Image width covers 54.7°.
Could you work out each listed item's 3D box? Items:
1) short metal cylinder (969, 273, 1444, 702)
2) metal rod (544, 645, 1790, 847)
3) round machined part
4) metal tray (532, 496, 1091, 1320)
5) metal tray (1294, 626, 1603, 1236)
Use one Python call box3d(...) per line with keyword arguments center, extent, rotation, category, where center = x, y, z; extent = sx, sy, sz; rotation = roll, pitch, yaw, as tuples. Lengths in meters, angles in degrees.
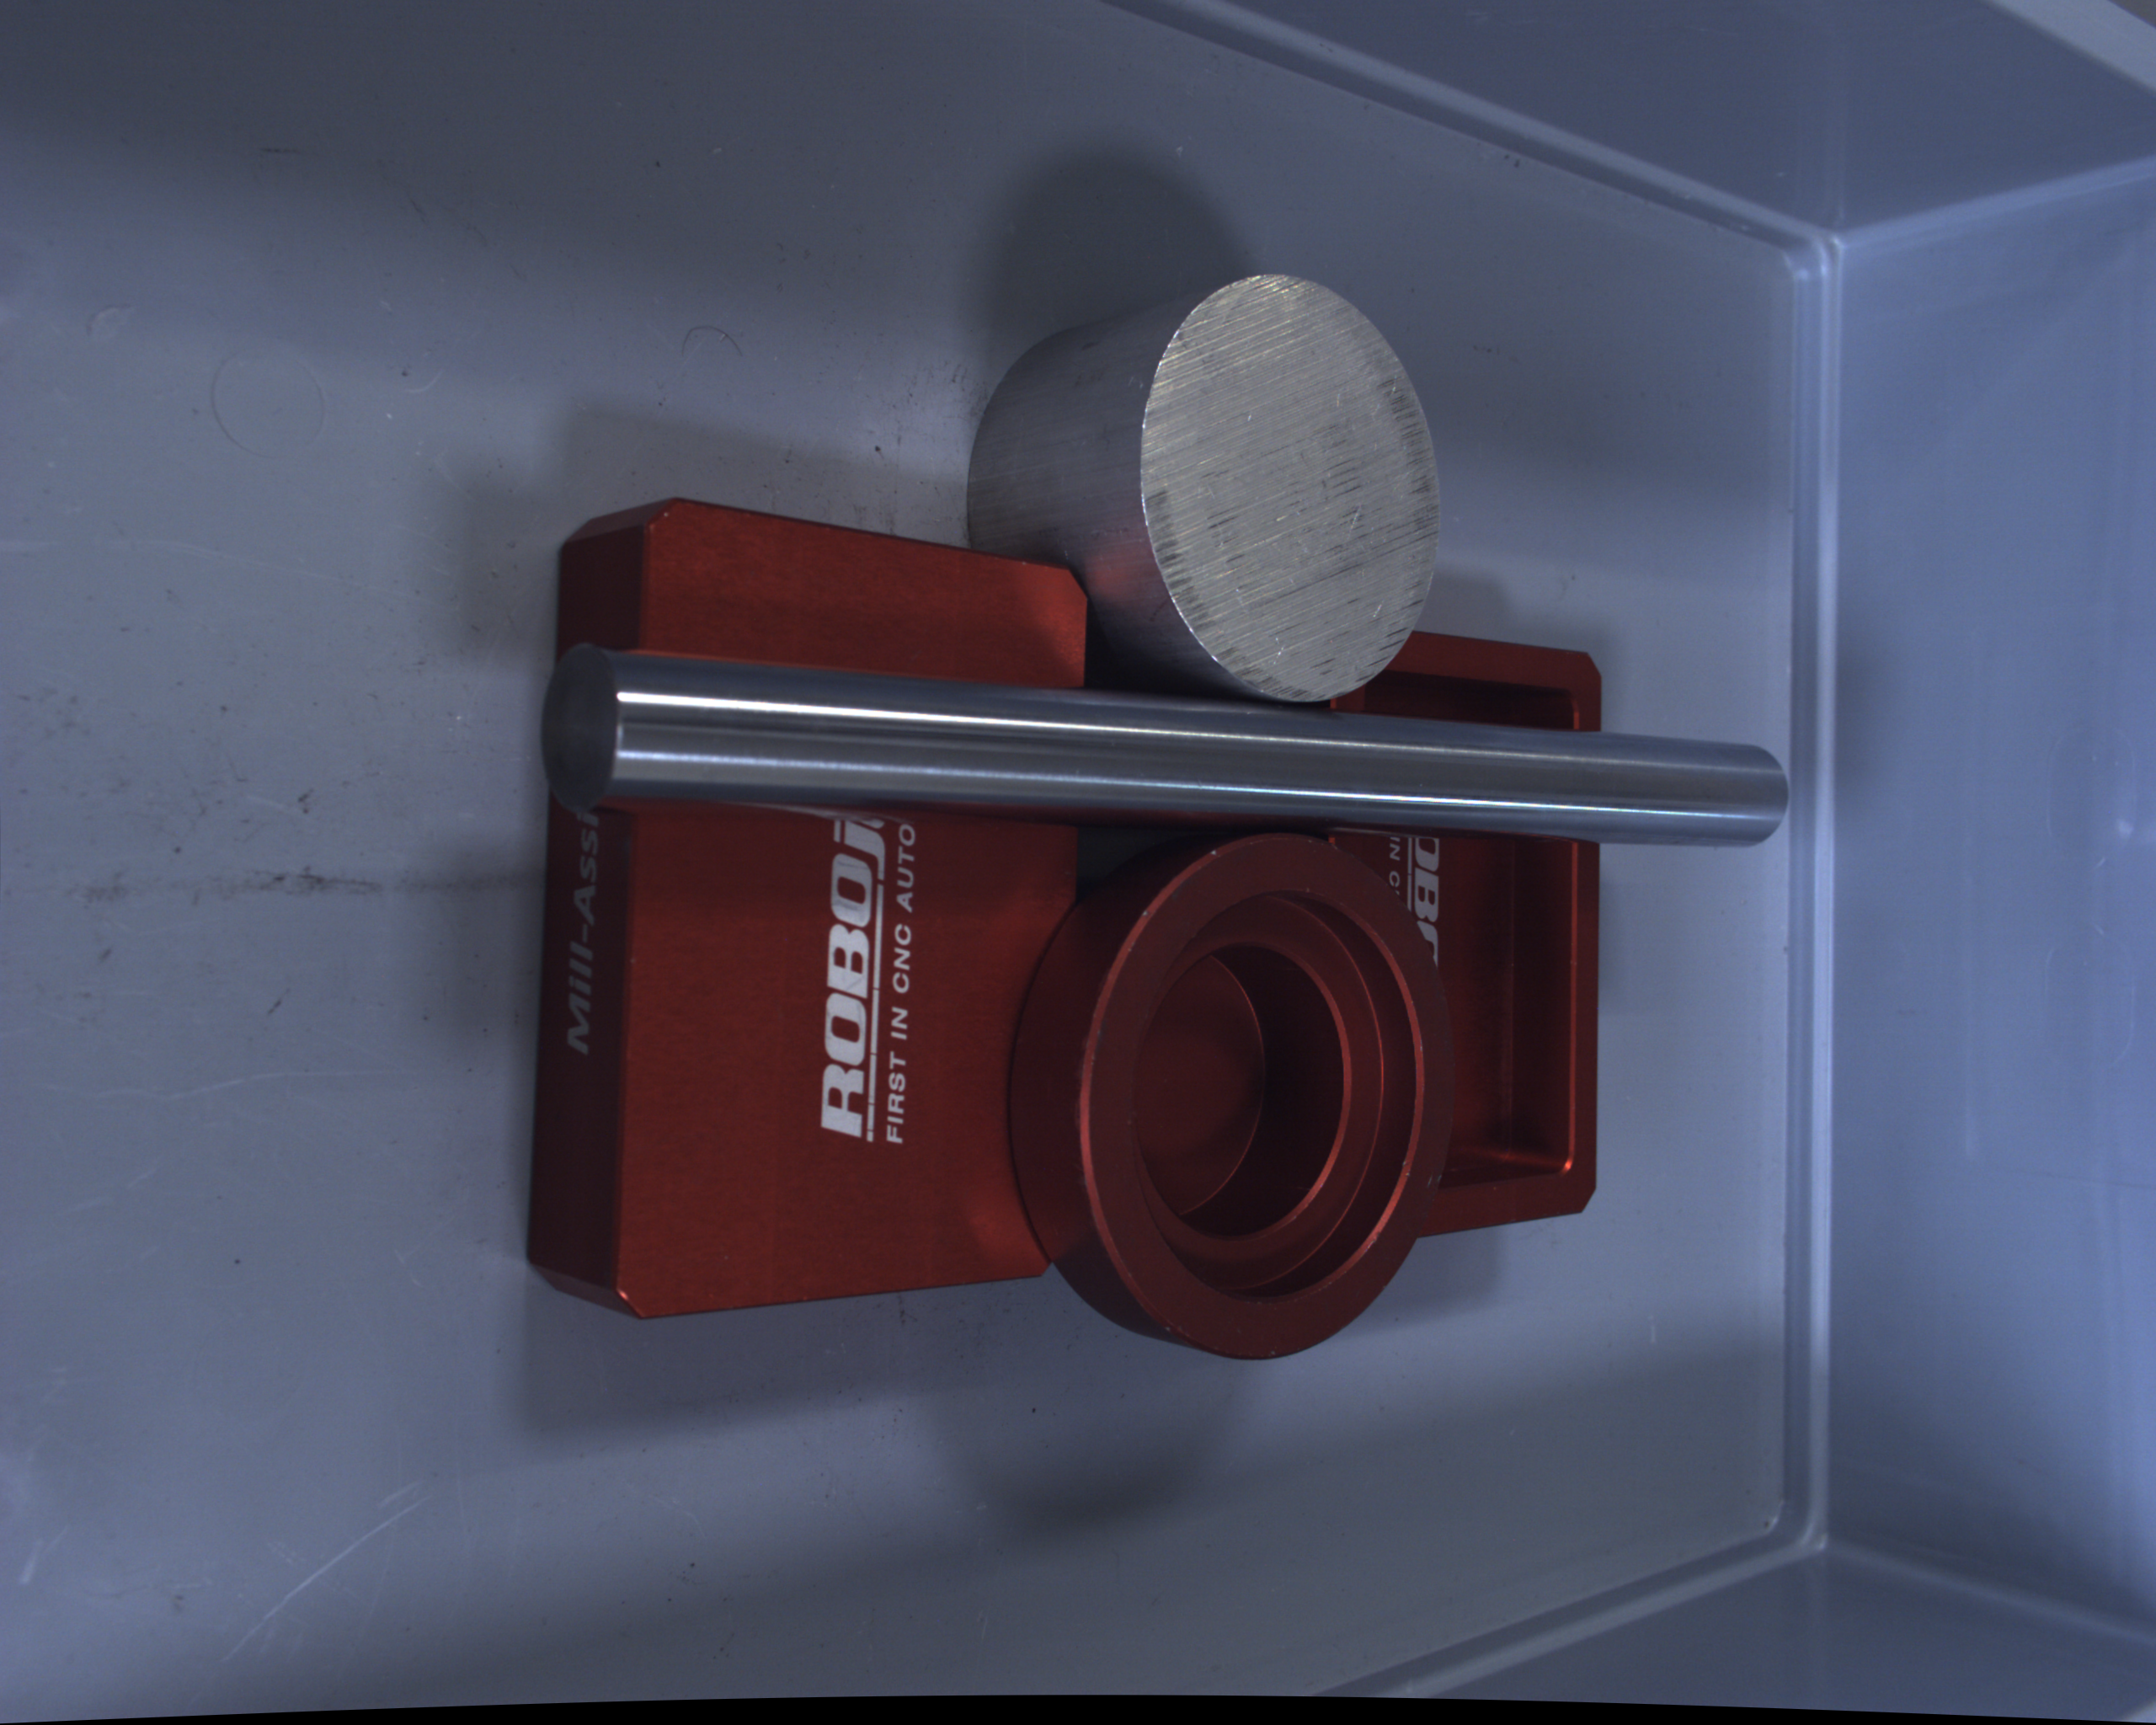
box3d(center=(0.026, -0.070, 0.409), extent=(0.081, 0.050, 0.079), rotation=(0, 90, -40), category="short metal cylinder")
box3d(center=(0.043, -0.018, 0.401), extent=(0.302, 0.025, 0.025), rotation=(1, 90, -40), category="metal rod")
box3d(center=(0.025, 0.043, 0.403), extent=(0.099, 0.042, 0.097), rotation=(0, 90, -40), category="round machined part")
box3d(center=(-0.044, 0.008, 0.363), extent=(0.091, 0.030, 0.129), rotation=(4, 88, -40), category="metal tray")
box3d(center=(0.077, 0.015, 0.466), extent=(0.091, 0.030, 0.129), rotation=(1, 89, -40), category="metal tray")
